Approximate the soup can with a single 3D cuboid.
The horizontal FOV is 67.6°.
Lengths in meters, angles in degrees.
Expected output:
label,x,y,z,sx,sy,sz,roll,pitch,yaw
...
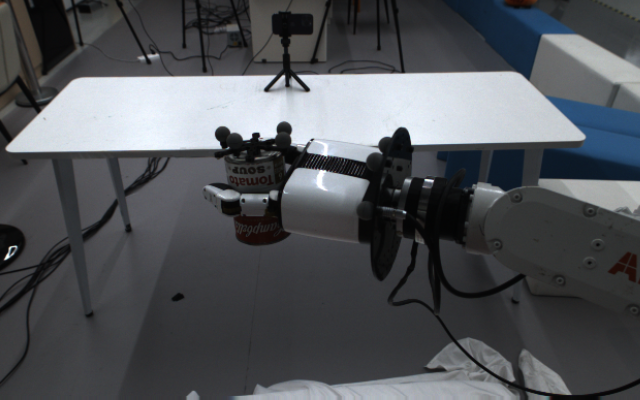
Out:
label,x,y,z,sx,sy,sz,roll,pitch,yaw
soup can,-0.067,-0.008,0.550,0.067,0.101,0.067,-4,25,2
